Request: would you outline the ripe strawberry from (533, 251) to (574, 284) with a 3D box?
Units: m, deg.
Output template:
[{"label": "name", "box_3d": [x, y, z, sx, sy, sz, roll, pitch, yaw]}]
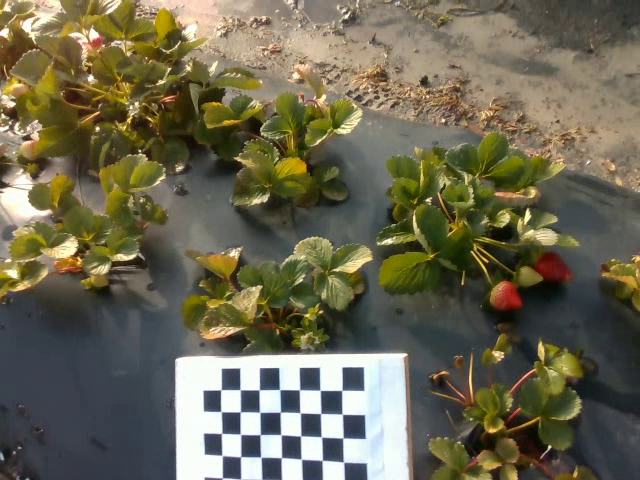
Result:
[{"label": "ripe strawberry", "box_3d": [0.346, 0.043, 0.886, 0.064, 0.049, 0.050, 39, 12, 21]}]
